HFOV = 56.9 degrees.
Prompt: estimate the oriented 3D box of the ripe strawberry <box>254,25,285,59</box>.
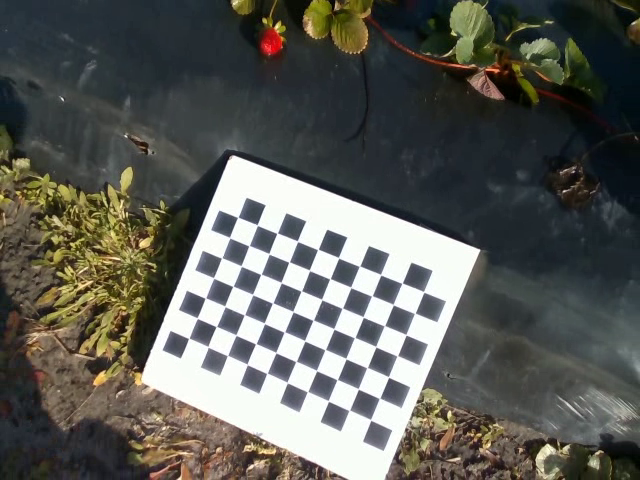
[{"bbox_3d":[-0.051,-0.187,0.556,0.028,0.031,0.041,-4,29,10],"label":"ripe strawberry"}]
